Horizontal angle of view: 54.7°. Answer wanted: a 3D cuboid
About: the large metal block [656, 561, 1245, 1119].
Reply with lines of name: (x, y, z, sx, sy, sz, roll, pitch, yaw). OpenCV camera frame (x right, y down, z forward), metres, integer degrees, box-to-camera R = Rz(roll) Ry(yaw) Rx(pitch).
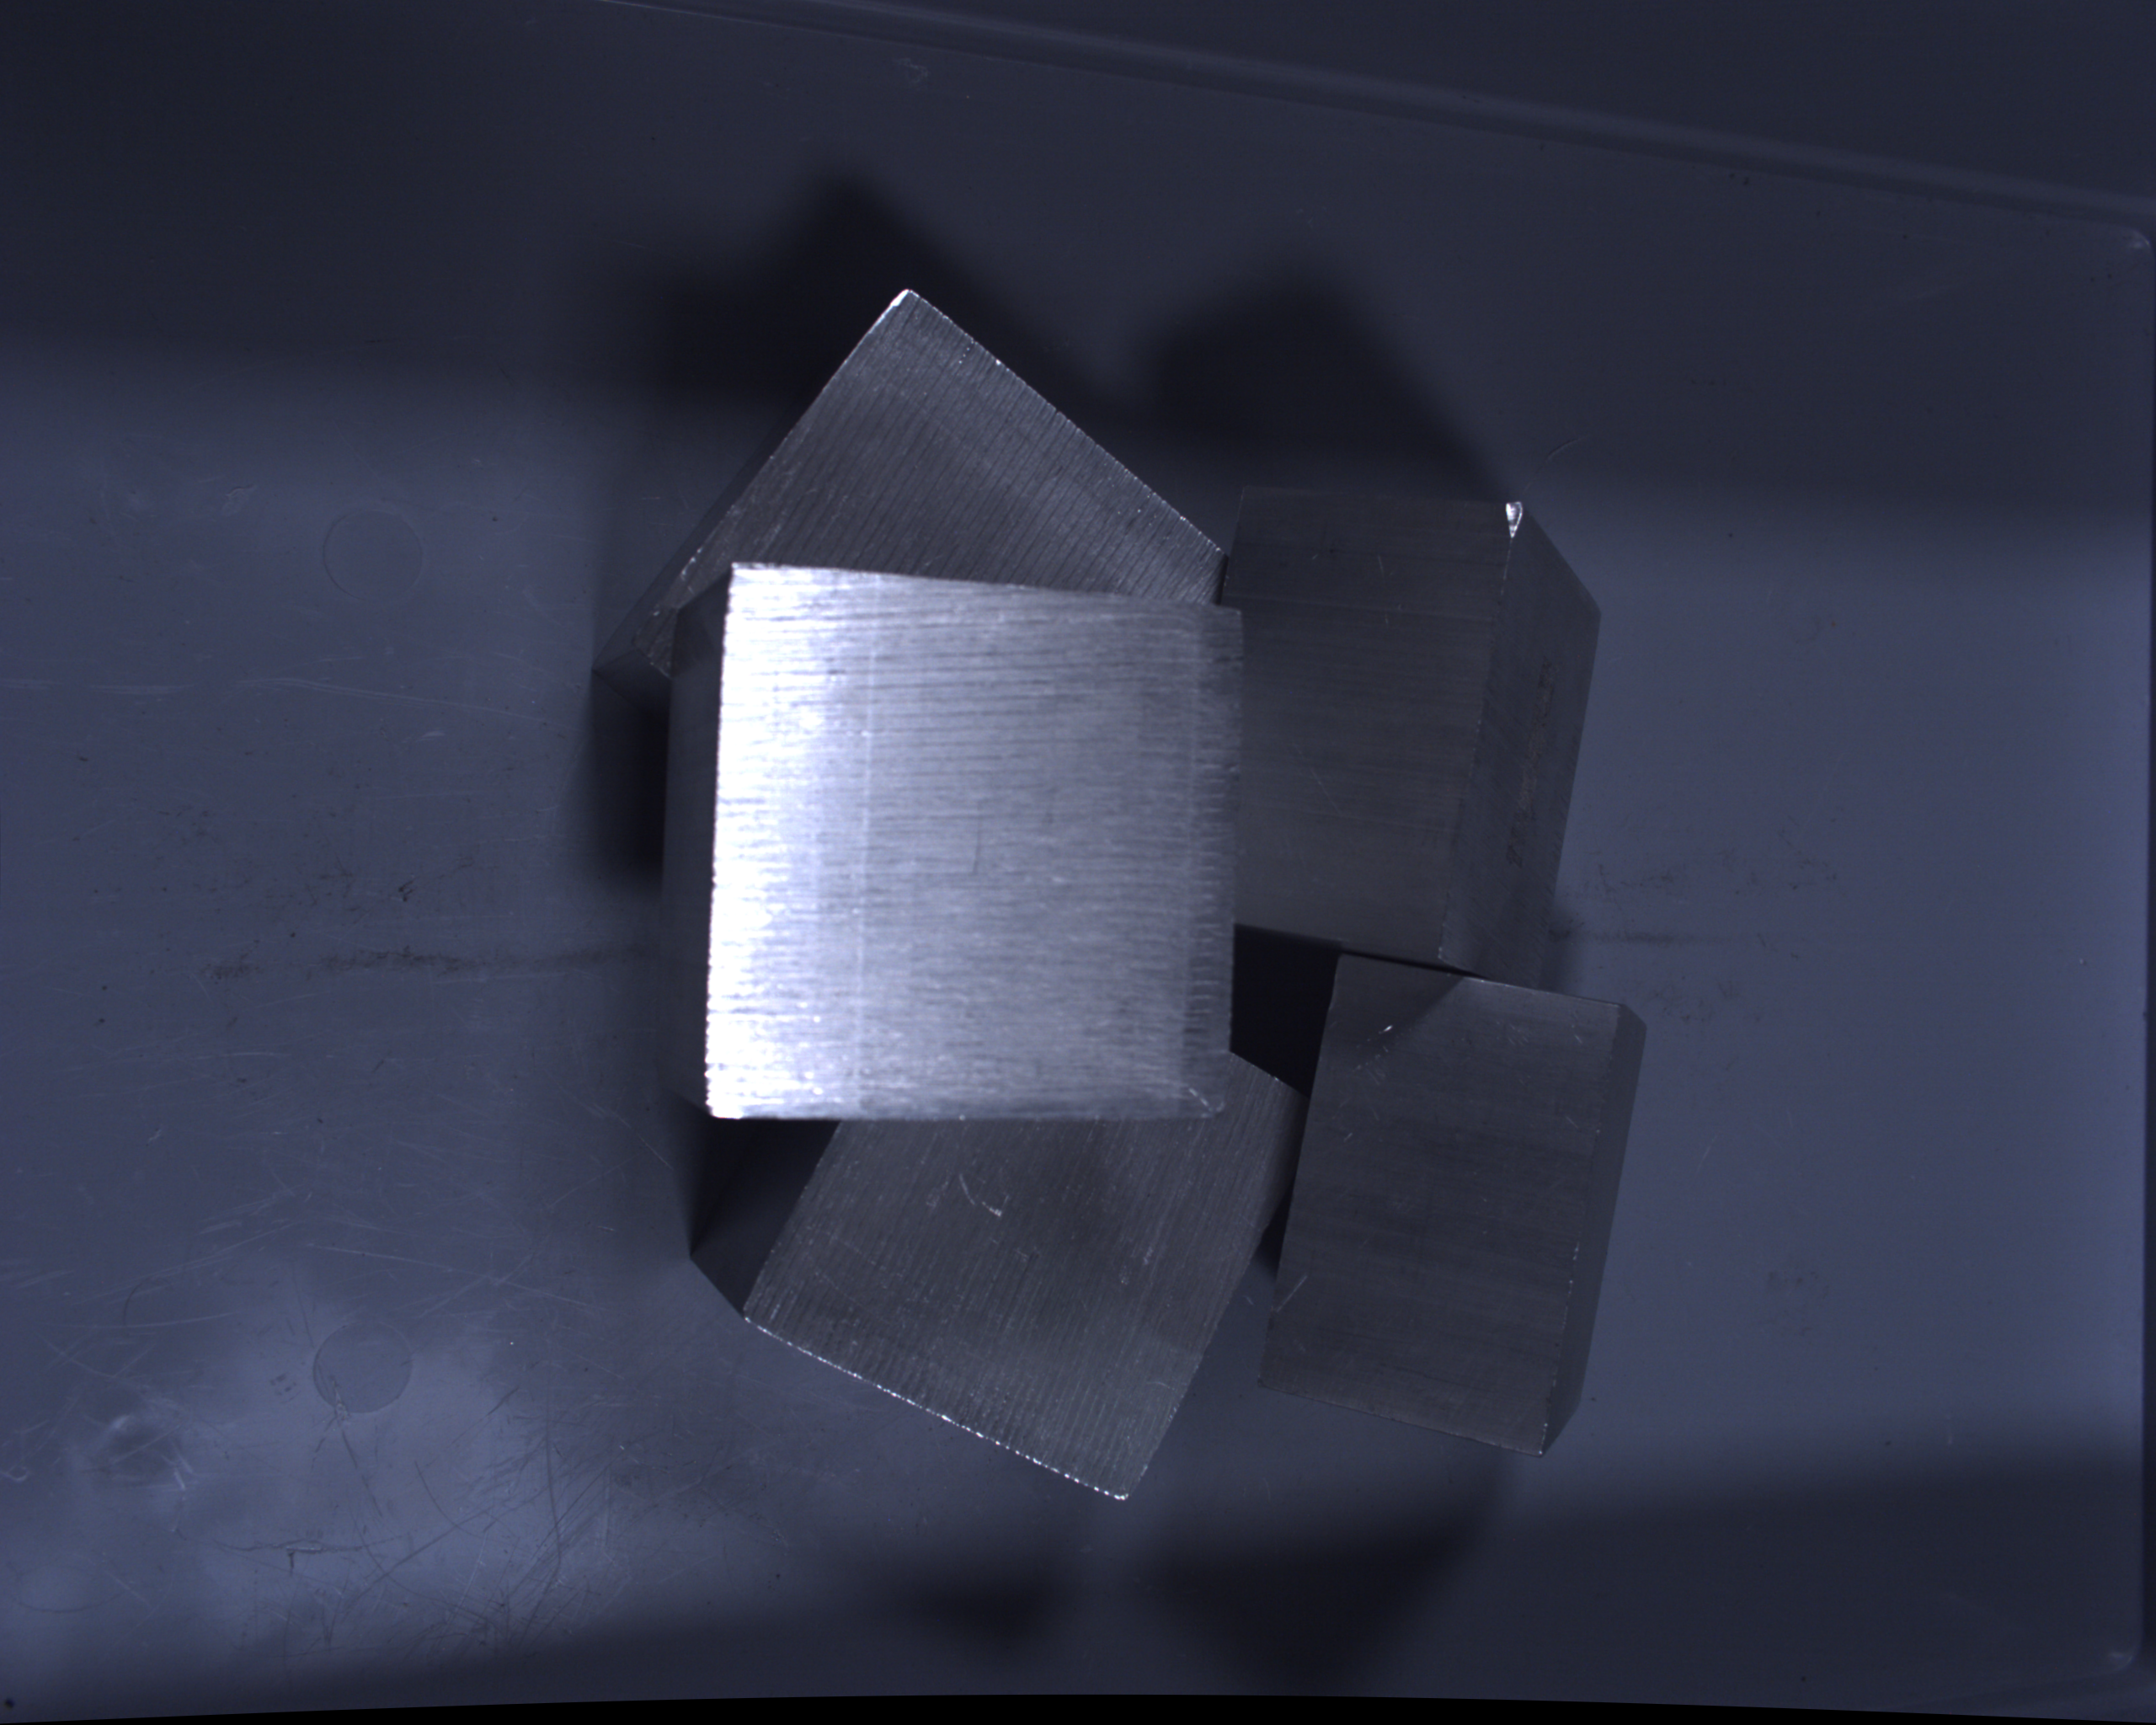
large metal block: (-0.022, -0.001, 0.334, 0.081, 0.050, 0.080, 3, 88, -19)

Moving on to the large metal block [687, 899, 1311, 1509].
large metal block: (-0.014, 0.060, 0.389, 0.080, 0.050, 0.080, 31, 80, -18)

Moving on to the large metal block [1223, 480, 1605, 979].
large metal block: (0.061, -0.021, 0.397, 0.080, 0.050, 0.080, 19, 81, -65)

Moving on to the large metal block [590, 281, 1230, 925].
large metal block: (-0.030, -0.045, 0.386, 0.080, 0.050, 0.080, 38, 78, -17)

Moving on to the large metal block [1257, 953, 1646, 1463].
large metal block: (0.076, 0.064, 0.402, 0.050, 0.080, 0.080, 10, 86, 19)
